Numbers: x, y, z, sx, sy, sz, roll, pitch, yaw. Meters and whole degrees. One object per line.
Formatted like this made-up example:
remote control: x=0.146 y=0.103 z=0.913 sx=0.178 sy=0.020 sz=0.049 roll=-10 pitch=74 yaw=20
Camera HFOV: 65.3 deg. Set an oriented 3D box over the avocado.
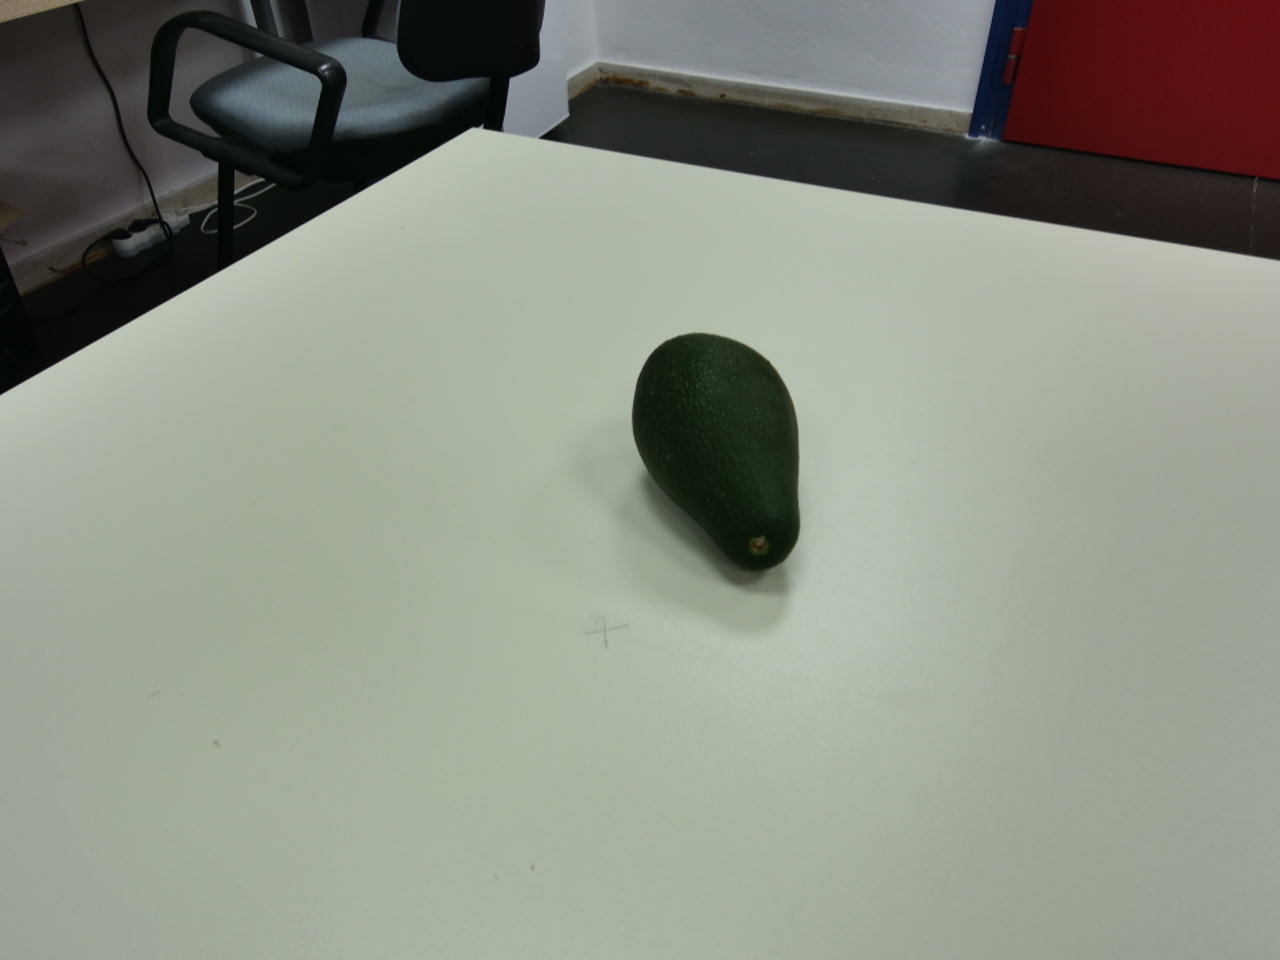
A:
avocado: x=0.031 y=-0.017 z=0.421 sx=0.072 sy=0.071 sz=0.109 roll=1 pitch=37 yaw=4
